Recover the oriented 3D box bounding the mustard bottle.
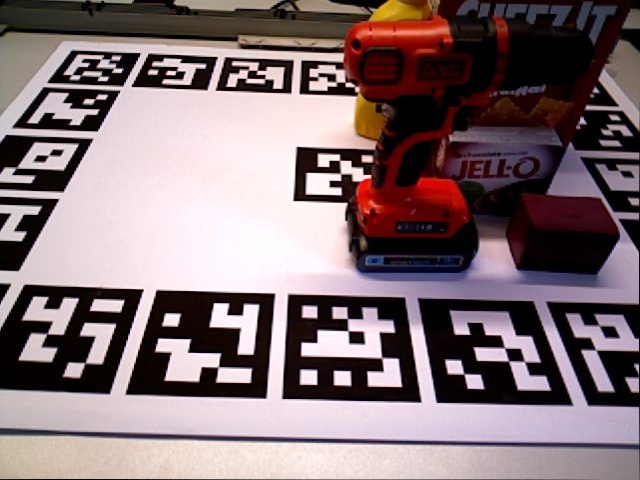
[{"bbox_3d":[0.093,-0.219,0.589,0.096,0.196,0.057,12,47,8],"label":"mustard bottle"}]

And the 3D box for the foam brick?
[{"bbox_3d":[0.223,-0.006,0.499,0.078,0.052,0.052,4,47,1],"label":"foam brick"}]

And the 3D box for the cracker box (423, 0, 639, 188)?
[{"bbox_3d":[0.178,-0.149,0.514,0.163,0.218,0.071,-1,43,0],"label":"cracker box"}]

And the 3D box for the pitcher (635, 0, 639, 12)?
[{"bbox_3d":[0.226,-0.222,0.581,0.188,0.248,0.130,5,45,5],"label":"pitcher"}]

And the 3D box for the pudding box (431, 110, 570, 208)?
[{"bbox_3d":[0.168,-0.076,0.520,0.113,0.092,0.038,1,44,2],"label":"pudding box"}]

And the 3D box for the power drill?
[{"bbox_3d":[0.109,-0.086,0.427,0.183,0.191,0.056,2,42,-2],"label":"power drill"}]
